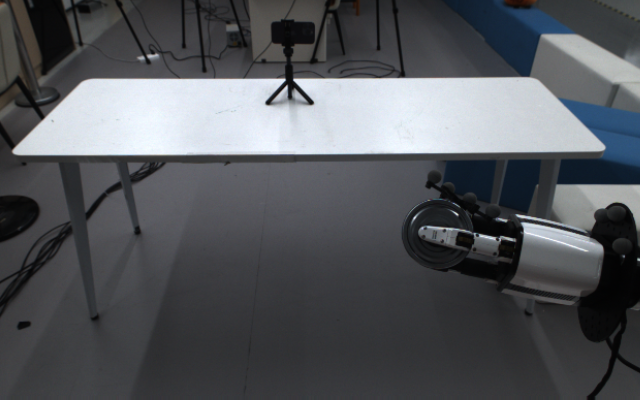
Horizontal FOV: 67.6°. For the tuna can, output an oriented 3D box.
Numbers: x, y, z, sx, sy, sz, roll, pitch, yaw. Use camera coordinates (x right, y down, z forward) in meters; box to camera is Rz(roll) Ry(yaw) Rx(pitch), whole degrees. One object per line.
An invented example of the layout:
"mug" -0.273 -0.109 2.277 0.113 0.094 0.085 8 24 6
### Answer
"tuna can" 0.147 0.047 0.585 0.085 0.085 0.034 13 -4 15
